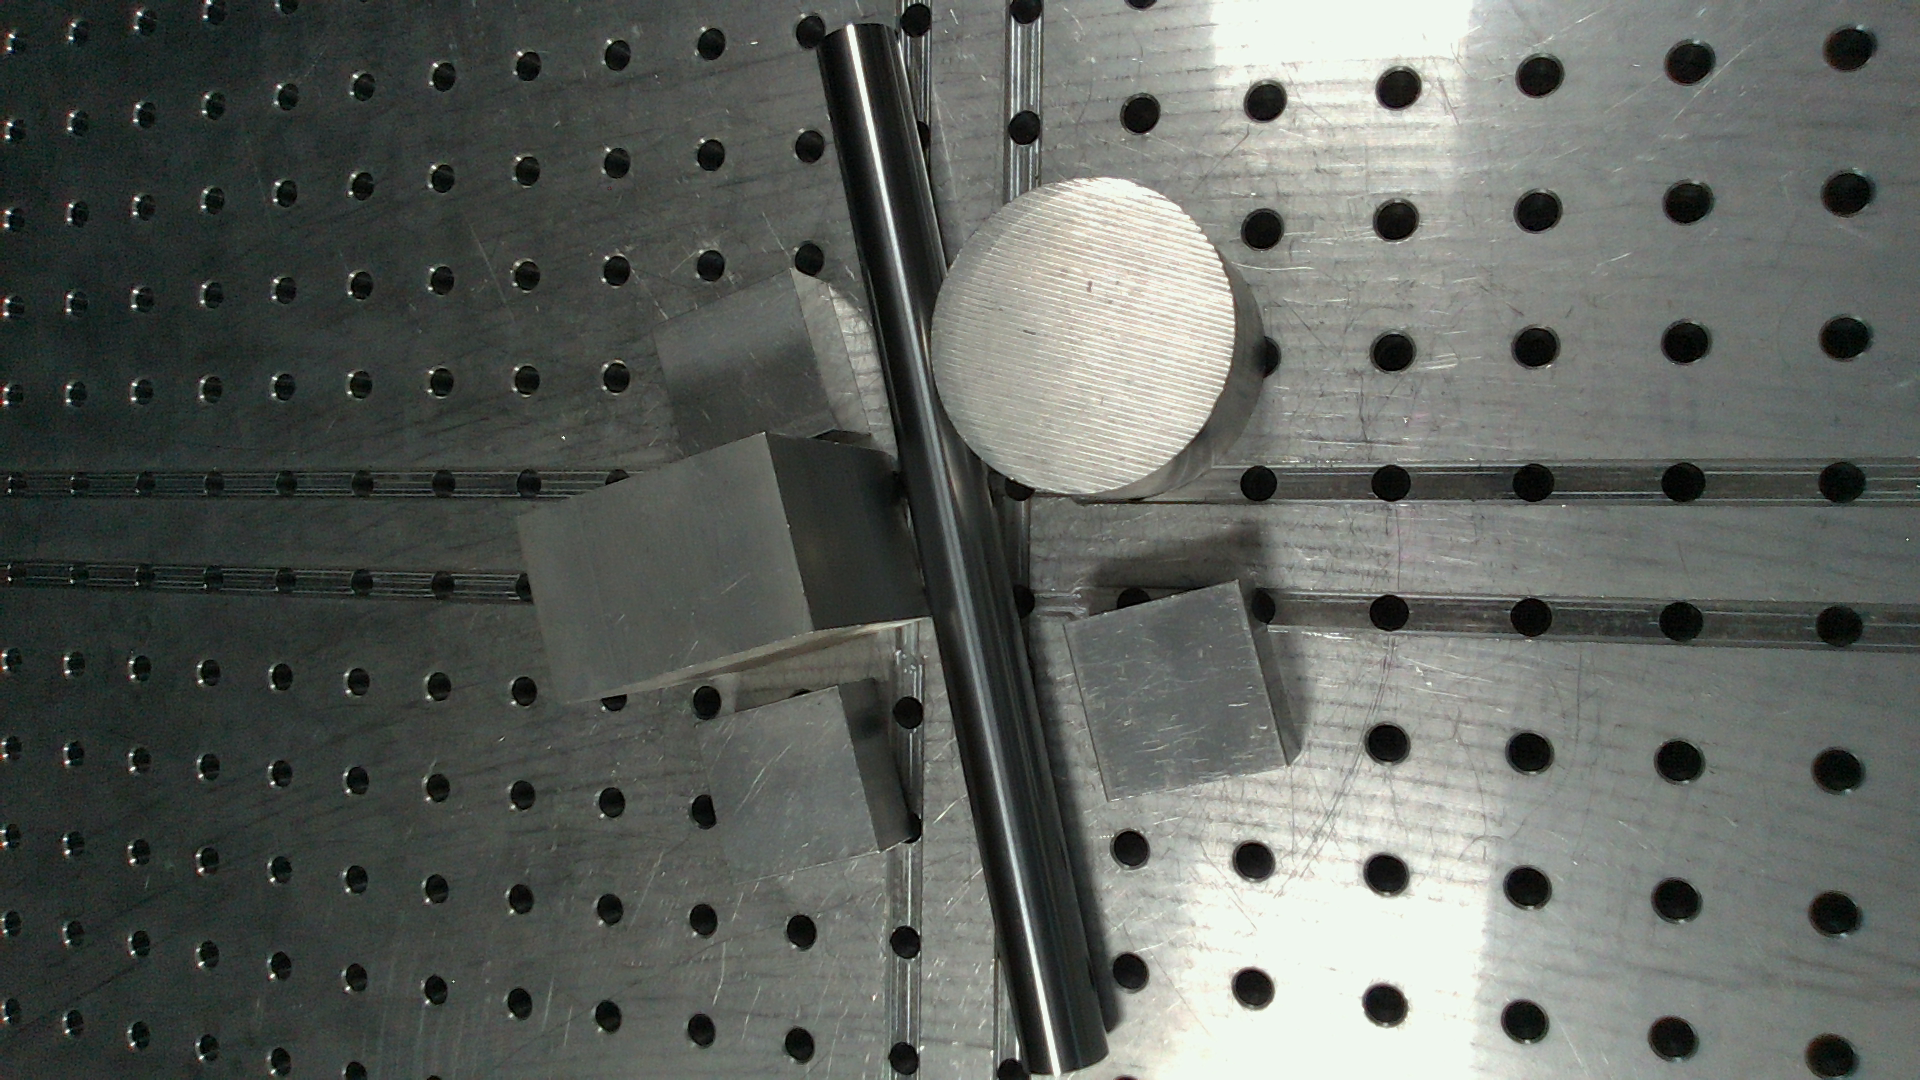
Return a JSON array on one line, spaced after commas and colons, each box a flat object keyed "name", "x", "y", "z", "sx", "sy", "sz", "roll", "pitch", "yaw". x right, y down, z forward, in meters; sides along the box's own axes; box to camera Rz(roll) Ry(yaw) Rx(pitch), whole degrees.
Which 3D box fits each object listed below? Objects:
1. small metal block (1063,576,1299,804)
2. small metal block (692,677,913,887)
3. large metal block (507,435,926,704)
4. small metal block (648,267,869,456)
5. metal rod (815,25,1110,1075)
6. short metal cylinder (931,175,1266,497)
[{"name": "small metal block", "x": 0.061, "y": 0.041, "z": 0.376, "sx": 0.050, "sy": 0.025, "sz": 0.050, "roll": -16, "pitch": 85, "yaw": 19}, {"name": "small metal block", "x": -0.048, "y": 0.072, "z": 0.416, "sx": 0.050, "sy": 0.025, "sz": 0.050, "roll": -17, "pitch": 85, "yaw": 19}, {"name": "large metal block", "x": -0.065, "y": 0.009, "z": 0.391, "sx": 0.080, "sy": 0.080, "sz": 0.050, "roll": -17, "pitch": 84, "yaw": 19}, {"name": "small metal block", "x": -0.061, "y": -0.049, "z": 0.420, "sx": 0.050, "sy": 0.025, "sz": 0.050, "roll": -19, "pitch": 84, "yaw": 19}, {"name": "metal rod", "x": 0.000, "y": -0.001, "z": 0.398, "sx": 0.025, "sy": 0.025, "sz": 0.300, "roll": -13, "pitch": 86, "yaw": 20}, {"name": "short metal cylinder", "x": 0.038, "y": -0.052, "z": 0.371, "sx": 0.080, "sy": 0.050, "sz": 0.080, "roll": 0, "pitch": 90, "yaw": 20}]
